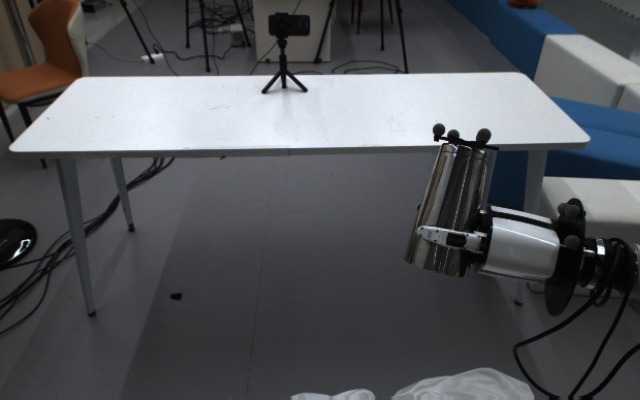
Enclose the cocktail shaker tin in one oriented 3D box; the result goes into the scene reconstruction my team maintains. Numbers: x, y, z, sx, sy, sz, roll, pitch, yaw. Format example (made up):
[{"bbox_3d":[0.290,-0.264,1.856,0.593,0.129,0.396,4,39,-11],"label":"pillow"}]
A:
[{"bbox_3d":[0.182,0.012,0.676,0.093,0.170,0.093,13,4,-1],"label":"cocktail shaker tin"}]
